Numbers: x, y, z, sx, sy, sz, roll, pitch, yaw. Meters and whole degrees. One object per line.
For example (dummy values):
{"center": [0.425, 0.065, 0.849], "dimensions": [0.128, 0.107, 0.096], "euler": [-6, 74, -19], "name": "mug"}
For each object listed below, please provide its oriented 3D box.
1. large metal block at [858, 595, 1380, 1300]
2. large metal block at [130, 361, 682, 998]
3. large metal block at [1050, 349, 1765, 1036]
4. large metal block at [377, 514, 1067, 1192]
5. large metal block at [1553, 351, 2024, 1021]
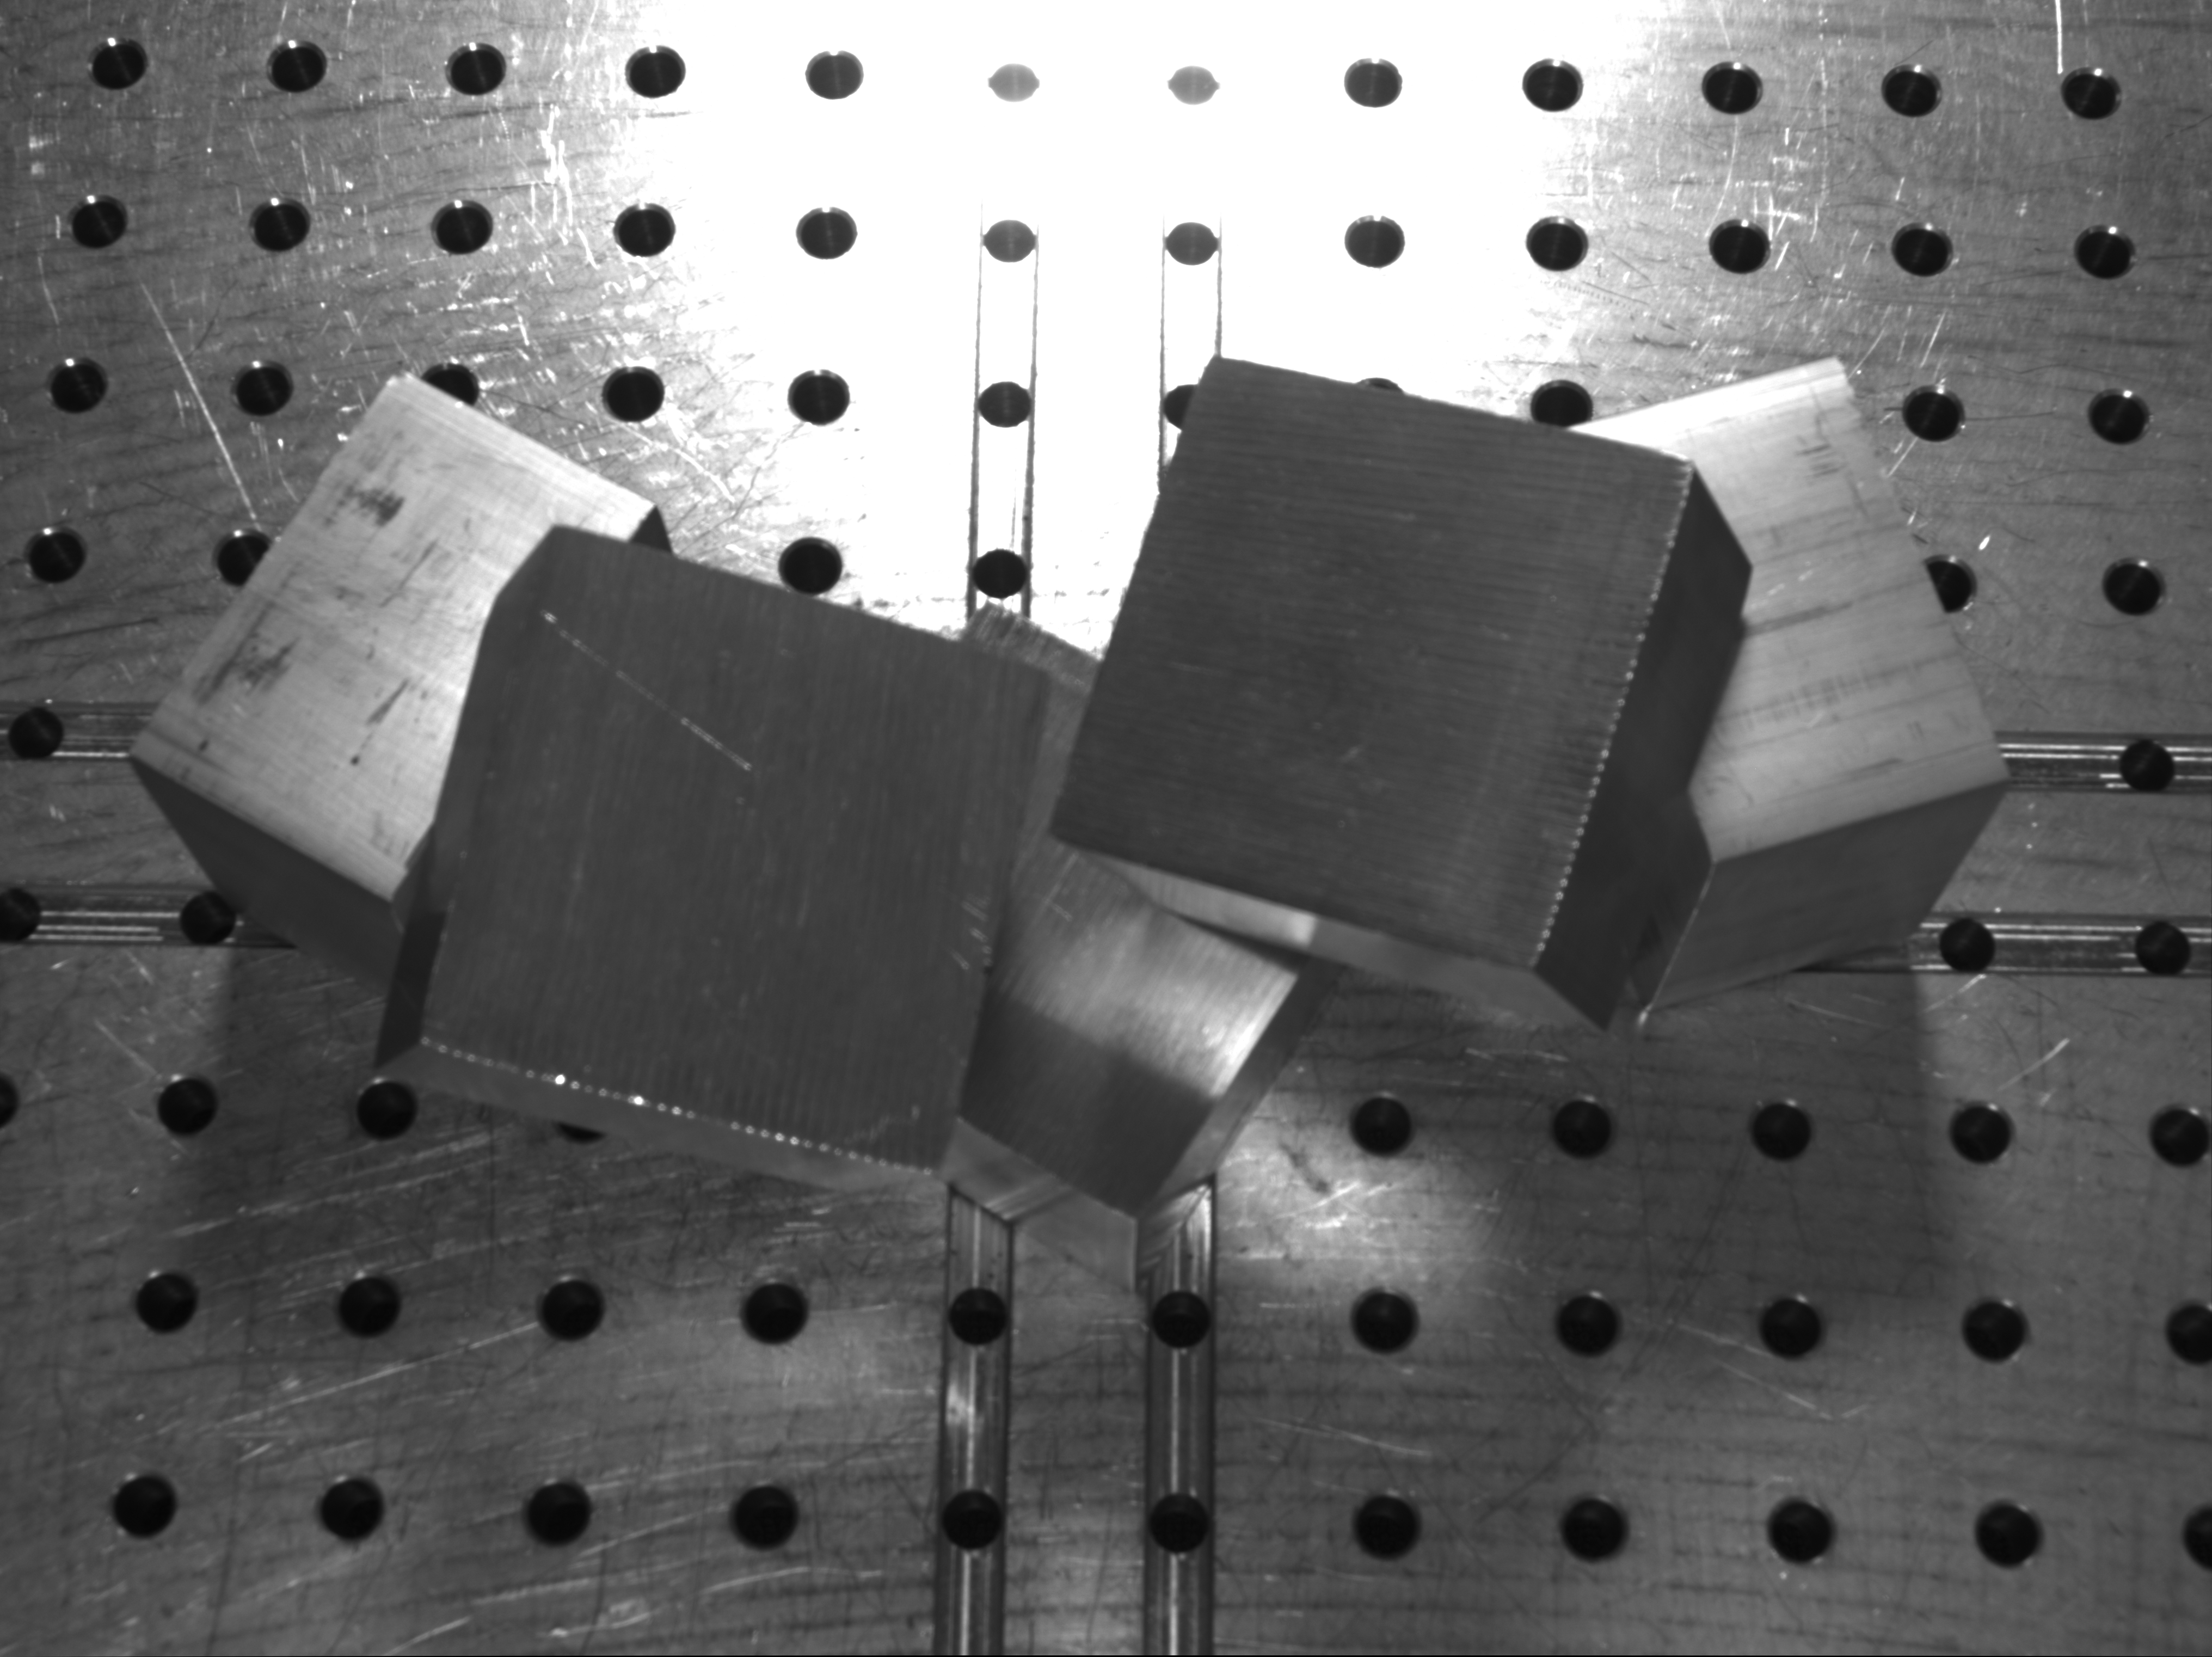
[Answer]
{"center": [-0.005, 0.021, 0.626], "dimensions": [0.080, 0.050, 0.080], "euler": [31, 73, 11], "name": "large metal block"}
{"center": [-0.113, -0.019, 0.624], "dimensions": [0.050, 0.080, 0.080], "euler": [28, 72, 10], "name": "large metal block"}
{"center": [0.048, -0.020, 0.568], "dimensions": [0.080, 0.050, 0.080], "euler": [16, 83, 22], "name": "large metal block"}
{"center": [-0.059, 0.006, 0.562], "dimensions": [0.080, 0.050, 0.080], "euler": [16, 76, -16], "name": "large metal block"}
{"center": [0.110, -0.022, 0.626], "dimensions": [0.050, 0.080, 0.080], "euler": [-15, 70, -5], "name": "large metal block"}
